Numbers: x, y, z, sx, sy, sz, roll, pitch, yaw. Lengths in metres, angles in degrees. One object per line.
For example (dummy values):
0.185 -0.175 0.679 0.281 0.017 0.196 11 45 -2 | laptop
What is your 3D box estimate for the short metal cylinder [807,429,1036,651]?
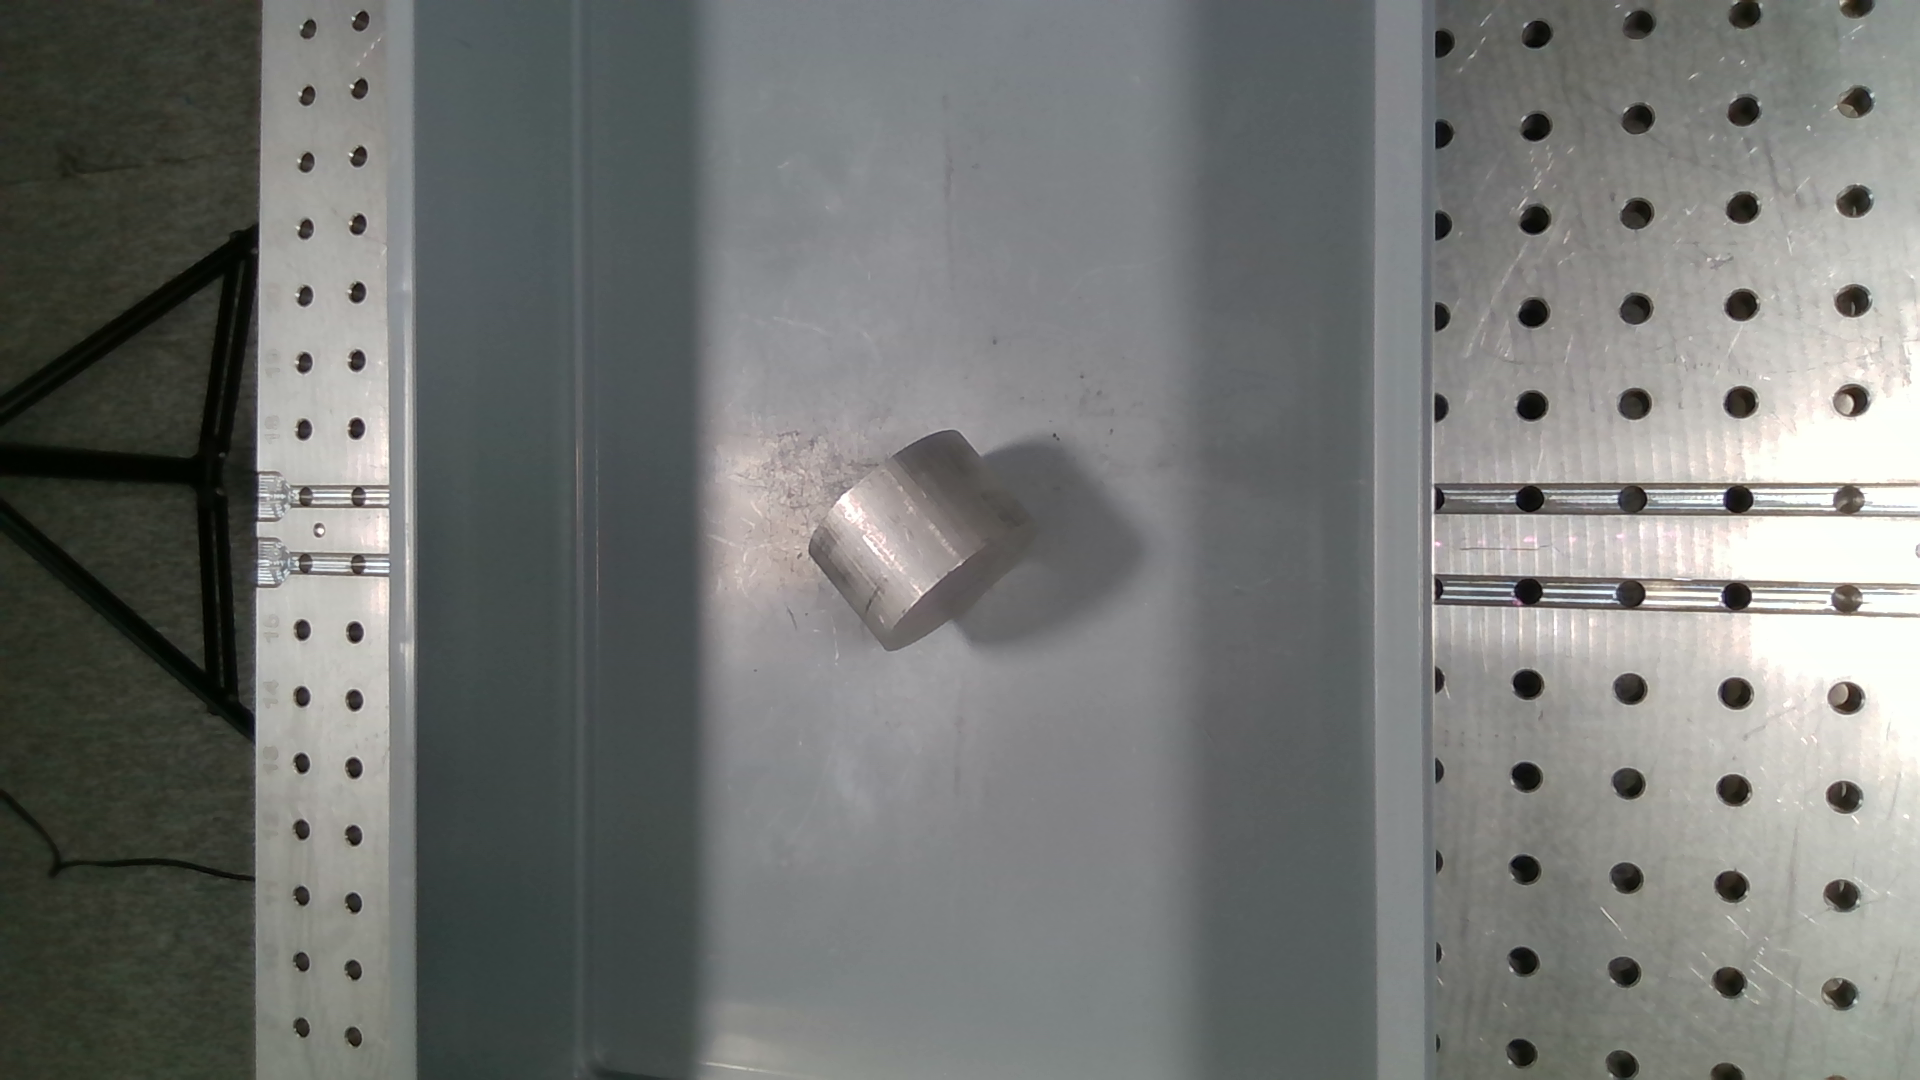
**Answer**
-0.015 0.001 0.560 0.080 0.080 0.050 -43 76 15 | short metal cylinder
